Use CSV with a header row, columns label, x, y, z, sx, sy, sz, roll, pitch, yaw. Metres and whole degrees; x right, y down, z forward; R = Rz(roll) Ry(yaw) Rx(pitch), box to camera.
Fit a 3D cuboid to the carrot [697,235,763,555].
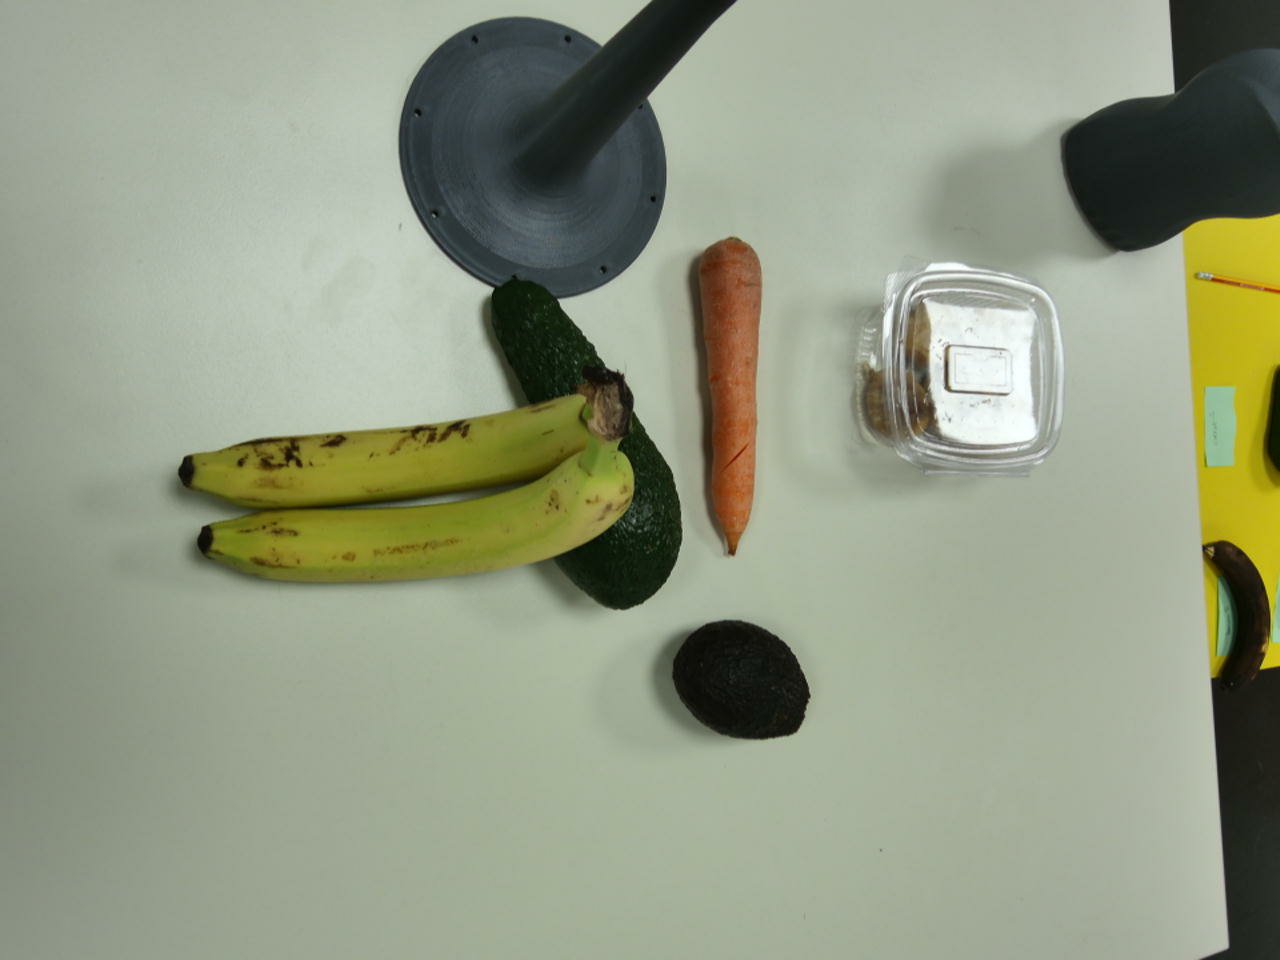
label,x,y,z,sx,sy,sz,roll,pitch,yaw
carrot,0.059,-0.049,0.613,0.039,0.041,0.196,-5,93,-22
